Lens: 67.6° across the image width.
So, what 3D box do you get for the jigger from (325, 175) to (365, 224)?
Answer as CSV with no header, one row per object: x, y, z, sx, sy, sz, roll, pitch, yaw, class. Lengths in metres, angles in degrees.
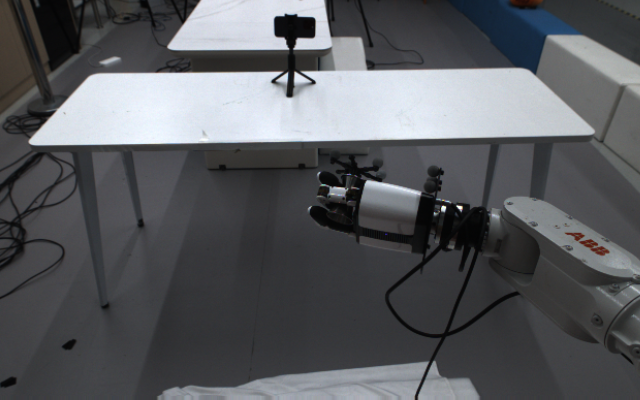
0.044,-0.002,0.743,0.043,0.043,0.071,13,70,16,jigger
